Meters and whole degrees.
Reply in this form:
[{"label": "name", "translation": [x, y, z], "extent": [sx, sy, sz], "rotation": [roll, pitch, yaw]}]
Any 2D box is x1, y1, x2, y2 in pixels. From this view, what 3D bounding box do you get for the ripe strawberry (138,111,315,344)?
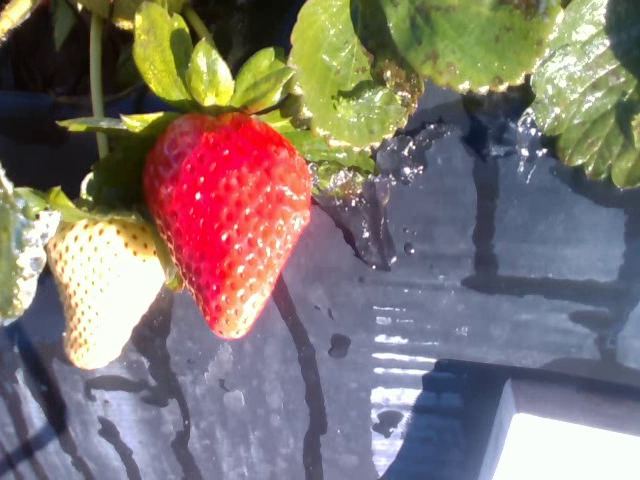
[{"label": "ripe strawberry", "translation": [-0.020, 0.001, 0.151], "extent": [0.042, 0.061, 0.046], "rotation": [-3, -21, 13]}]
